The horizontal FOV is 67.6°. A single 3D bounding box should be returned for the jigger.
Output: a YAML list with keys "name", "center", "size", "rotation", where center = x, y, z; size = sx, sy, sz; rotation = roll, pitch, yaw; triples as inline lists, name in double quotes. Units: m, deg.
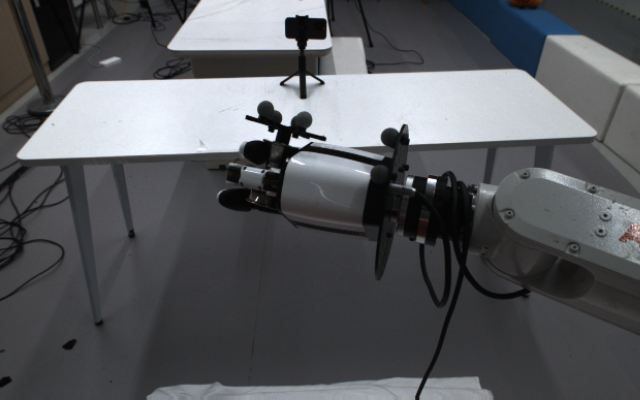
- name: "jigger"
  center: [-0.049, -0.027, 0.519]
  size: [0.043, 0.071, 0.043]
  rotation: [17, 2, -1]
